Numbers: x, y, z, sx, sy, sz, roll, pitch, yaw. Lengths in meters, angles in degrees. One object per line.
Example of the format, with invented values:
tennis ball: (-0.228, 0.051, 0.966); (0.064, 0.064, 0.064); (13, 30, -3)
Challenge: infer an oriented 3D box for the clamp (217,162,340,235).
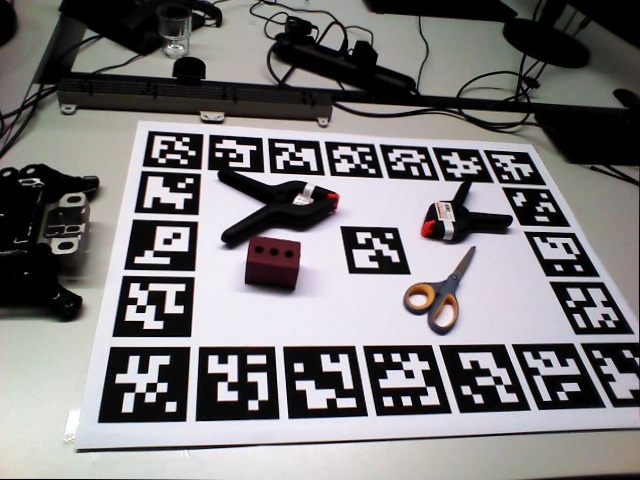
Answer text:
clamp: (-0.066, -0.072, 0.867); (0.202, 0.037, 0.164); (-1, 47, -13)

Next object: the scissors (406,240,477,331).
scissors: (0.208, 0.056, 0.819); (0.088, 0.016, 0.201); (36, 50, 10)

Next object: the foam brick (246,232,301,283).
foam brick: (-0.069, 0.027, 0.773); (0.078, 0.051, 0.052); (5, 50, -1)

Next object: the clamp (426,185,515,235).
clamp: (0.255, -0.054, 0.920); (0.164, 0.037, 0.122); (-22, 64, -26)
